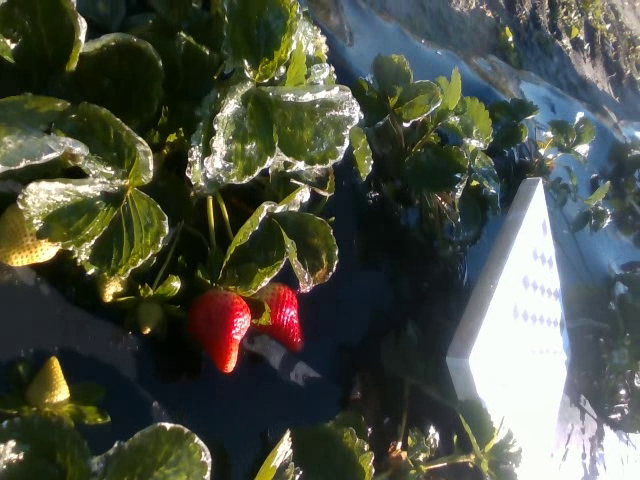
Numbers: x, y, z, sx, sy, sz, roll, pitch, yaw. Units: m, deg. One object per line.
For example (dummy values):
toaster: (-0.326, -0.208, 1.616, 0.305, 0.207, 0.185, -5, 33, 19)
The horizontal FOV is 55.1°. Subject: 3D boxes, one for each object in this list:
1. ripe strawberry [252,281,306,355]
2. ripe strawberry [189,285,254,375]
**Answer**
ripe strawberry: (-0.027, 0.059, 0.470, 0.040, 0.059, 0.043, -4, 33, 39)
ripe strawberry: (-0.065, 0.068, 0.433, 0.040, 0.070, 0.052, -5, -14, 28)
